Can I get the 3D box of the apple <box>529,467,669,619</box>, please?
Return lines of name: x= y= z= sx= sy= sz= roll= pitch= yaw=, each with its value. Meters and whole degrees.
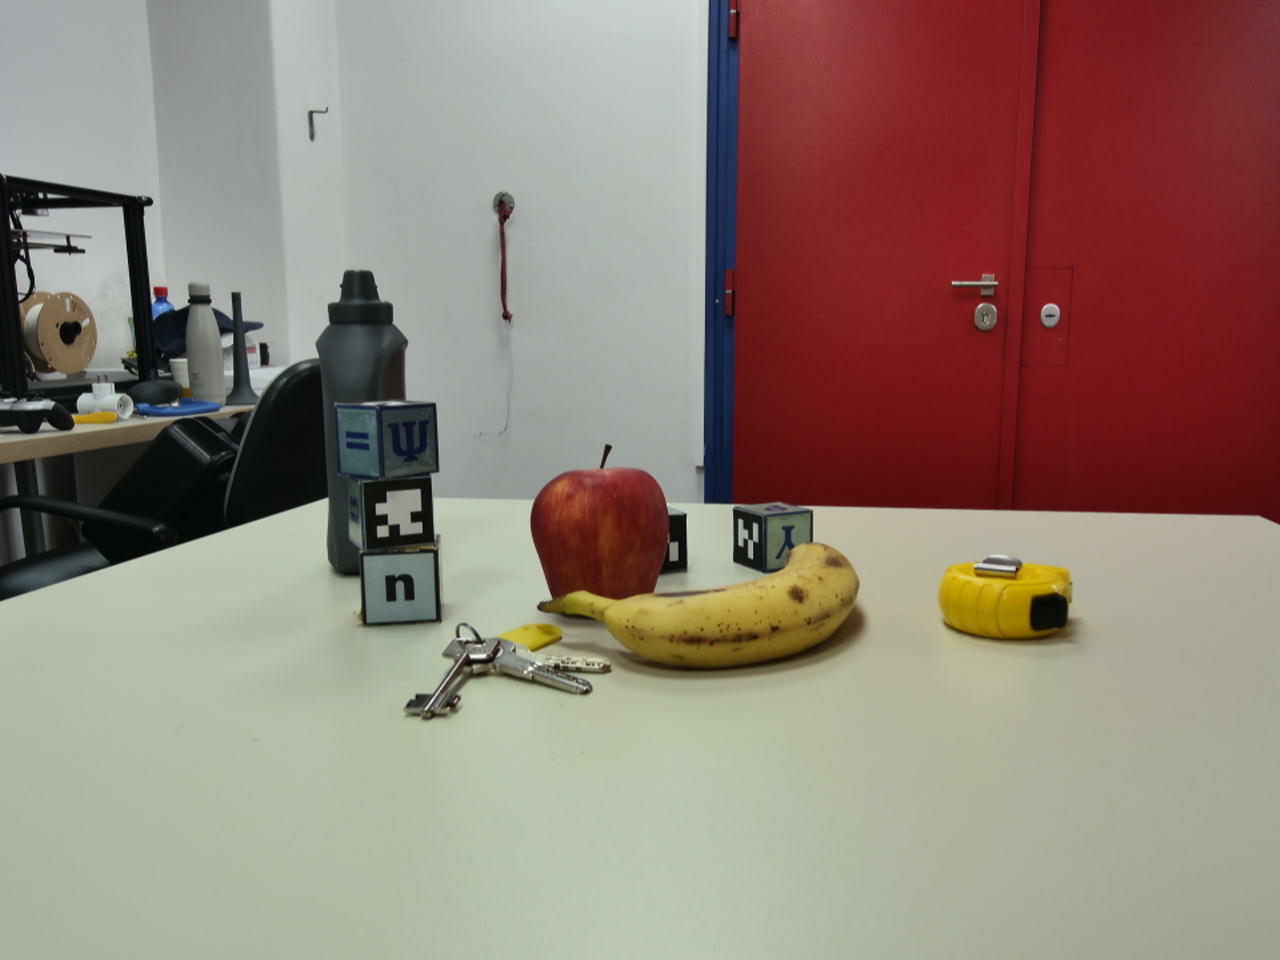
apple: x=-0.022 y=0.027 z=0.542 sx=0.083 sy=0.090 sz=0.083 roll=-1 pitch=6 yaw=0
